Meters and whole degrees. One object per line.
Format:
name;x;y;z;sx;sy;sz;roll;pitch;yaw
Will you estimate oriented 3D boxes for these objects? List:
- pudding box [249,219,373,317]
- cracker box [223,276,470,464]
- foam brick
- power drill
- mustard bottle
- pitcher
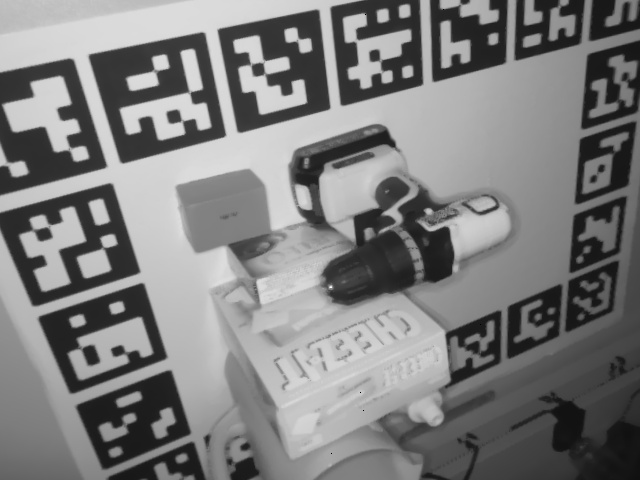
pudding box;-0.002;0.026;0.701;0.115;0.089;0.038;-17;121;-20
cracker box;0.017;0.092;0.676;0.166;0.212;0.071;-20;122;-18
foam brick;-0.076;-0.027;0.682;0.079;0.051;0.052;-15;117;-18
power drill;0.073;-0.018;0.635;0.186;0.186;0.057;-18;123;-16
mustard bottle;0.107;0.154;0.755;0.097;0.190;0.058;-4;114;-23
pitcher;-0.012;0.196;0.704;0.191;0.241;0.132;-12;117;-22
